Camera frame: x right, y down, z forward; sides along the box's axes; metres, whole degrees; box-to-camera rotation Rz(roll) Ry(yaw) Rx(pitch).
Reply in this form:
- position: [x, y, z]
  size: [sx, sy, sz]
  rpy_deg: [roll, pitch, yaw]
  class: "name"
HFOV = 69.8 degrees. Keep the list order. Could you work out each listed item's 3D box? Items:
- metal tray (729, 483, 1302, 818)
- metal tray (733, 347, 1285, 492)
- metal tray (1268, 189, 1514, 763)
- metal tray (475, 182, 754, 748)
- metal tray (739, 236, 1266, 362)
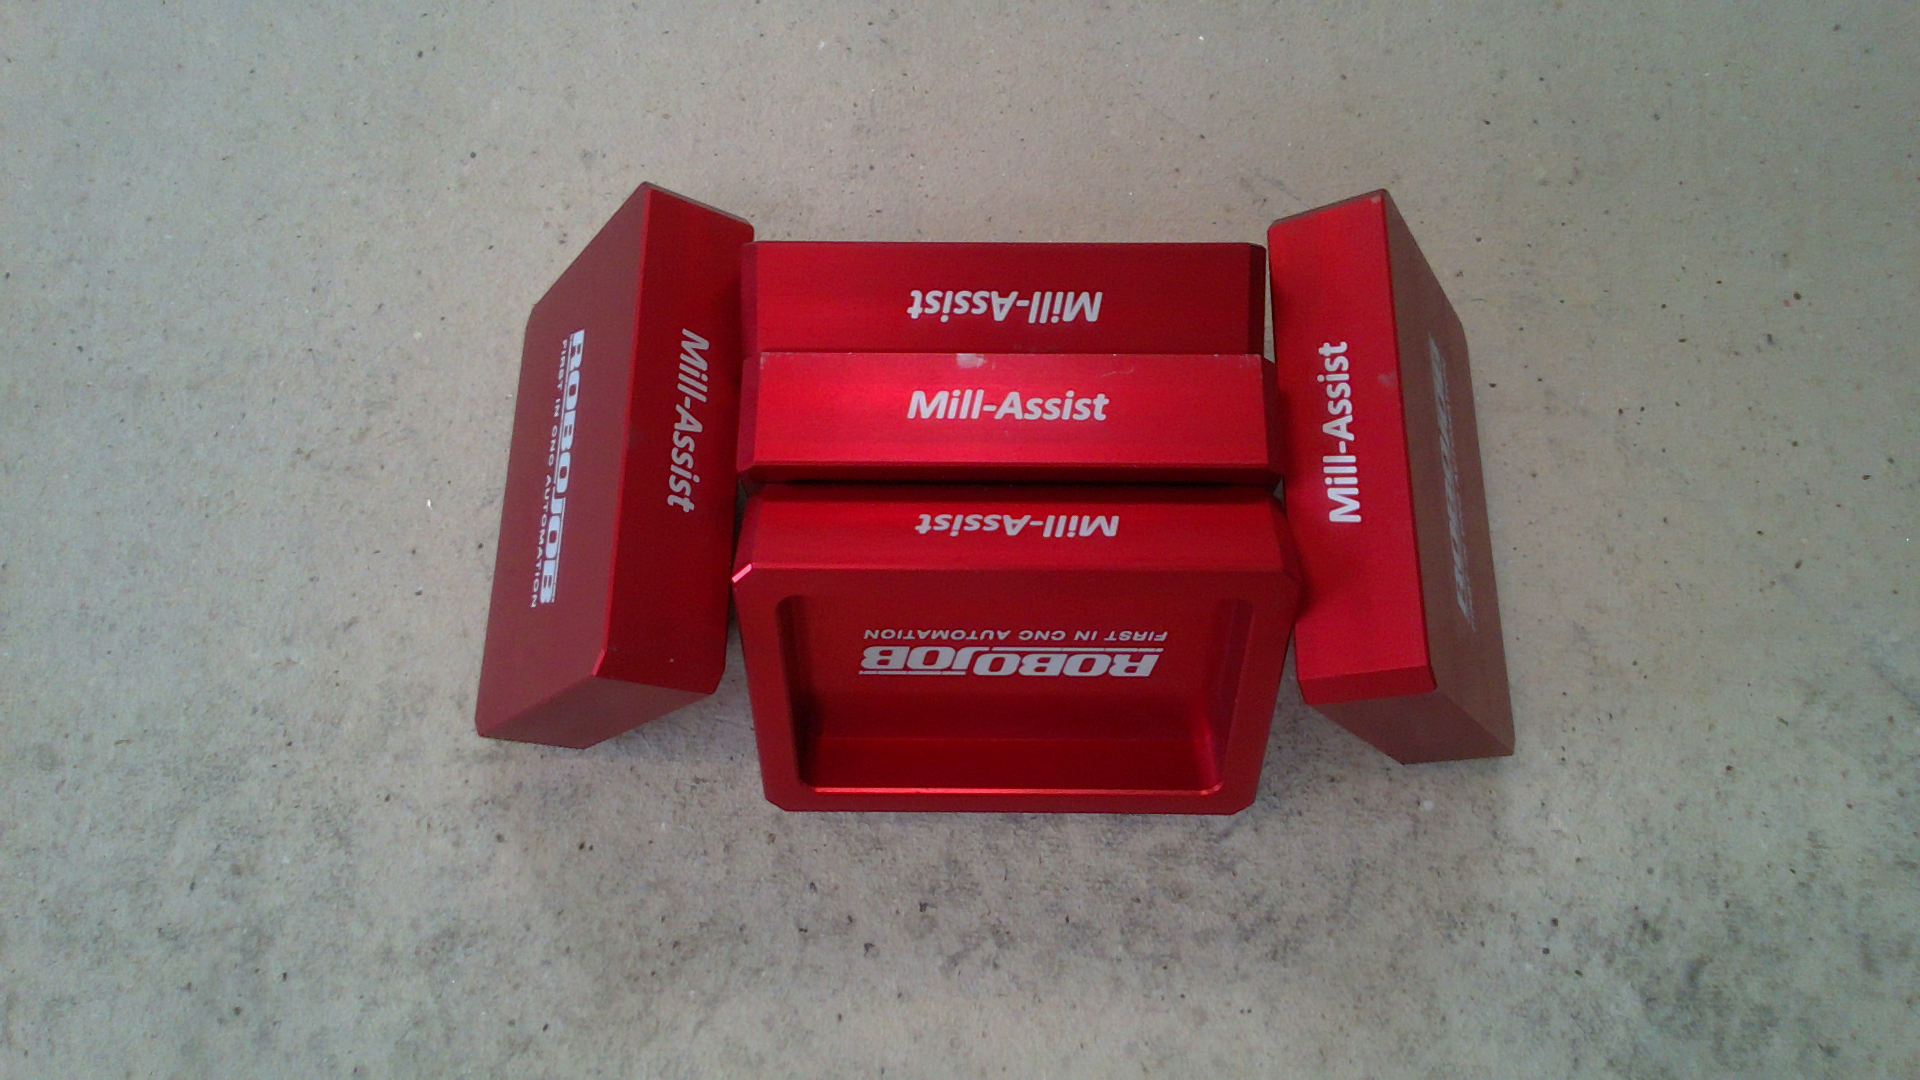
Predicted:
- position: [0.013, 0.030, 0.348]
  size: [0.130, 0.090, 0.030]
  rpy_deg: [1, 41, 0]
  class: "metal tray"
- position: [0.012, -0.017, 0.366]
  size: [0.130, 0.090, 0.030]
  rpy_deg: [0, 70, 0]
  class: "metal tray"
- position: [0.115, -0.014, 0.364]
  size: [0.030, 0.090, 0.130]
  rpy_deg: [-11, 67, 30]
  class: "metal tray"
- position: [-0.093, -0.017, 0.367]
  size: [0.030, 0.090, 0.130]
  rpy_deg: [14, 66, -34]
  class: "metal tray"
- position: [0.011, -0.060, 0.380]
  size: [0.130, 0.090, 0.030]
  rpy_deg: [0, 92, 0]
  class: "metal tray"
